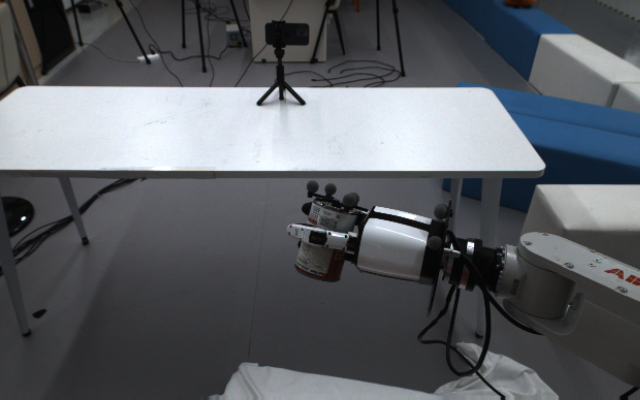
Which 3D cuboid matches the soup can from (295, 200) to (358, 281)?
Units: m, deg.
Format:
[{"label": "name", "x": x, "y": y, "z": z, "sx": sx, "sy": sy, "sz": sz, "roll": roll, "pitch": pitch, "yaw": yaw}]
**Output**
[{"label": "soup can", "x": 0.010, "y": 0.056, "z": 0.679, "sx": 0.067, "sy": 0.101, "sz": 0.067, "roll": 15, "pitch": 7, "yaw": -2}]
